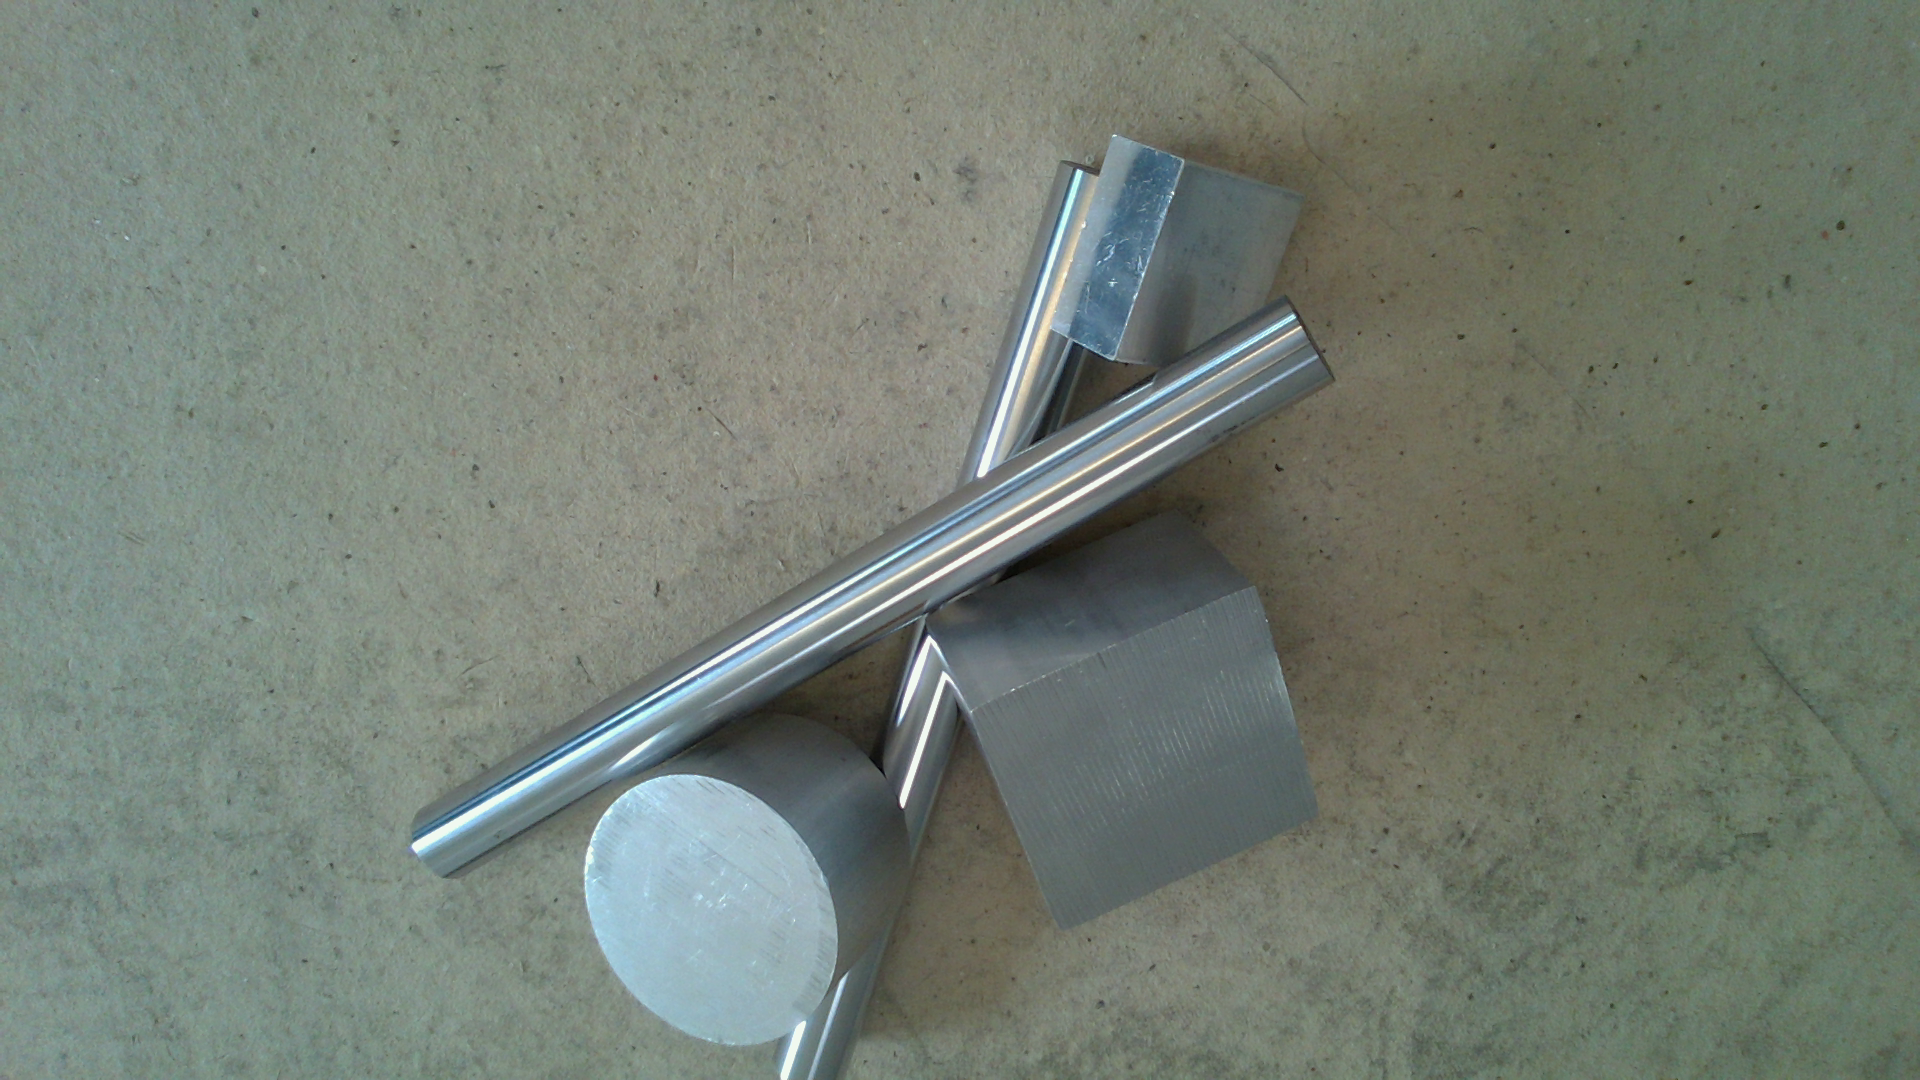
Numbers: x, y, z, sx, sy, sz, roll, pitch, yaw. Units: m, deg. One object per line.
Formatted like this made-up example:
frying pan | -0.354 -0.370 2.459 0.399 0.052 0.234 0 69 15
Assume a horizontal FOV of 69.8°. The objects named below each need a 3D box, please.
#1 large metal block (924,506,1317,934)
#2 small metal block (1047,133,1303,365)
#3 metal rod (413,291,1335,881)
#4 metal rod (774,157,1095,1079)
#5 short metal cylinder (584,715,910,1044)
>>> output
large metal block | 0.044 0.049 0.383 0.080 0.050 0.080 -23 118 -5
small metal block | 0.055 -0.072 0.354 0.050 0.025 0.050 -1 116 -43
metal rod | -0.037 0.022 0.383 0.299 0.025 0.025 -31 108 17
metal rod | -0.006 0.039 0.408 0.025 0.025 0.300 16 109 -6
short metal cylinder | -0.061 0.097 0.403 0.080 0.050 0.080 5 104 20
